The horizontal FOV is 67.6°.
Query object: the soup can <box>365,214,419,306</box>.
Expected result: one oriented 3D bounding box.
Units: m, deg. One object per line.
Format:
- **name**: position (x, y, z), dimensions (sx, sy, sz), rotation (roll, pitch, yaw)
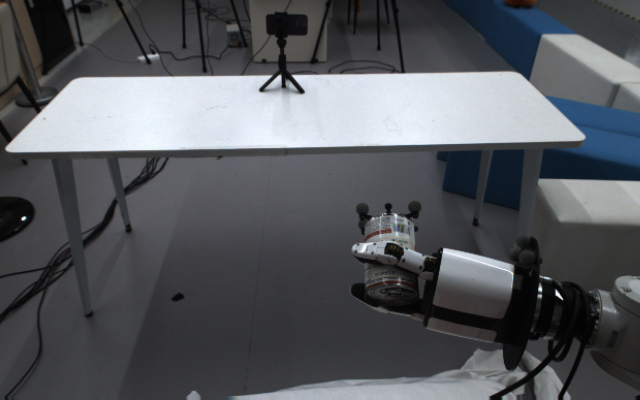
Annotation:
- **soup can**: position (0.091, 0.076, 0.619), dimensions (0.067, 0.067, 0.101), rotation (3, 57, 1)
